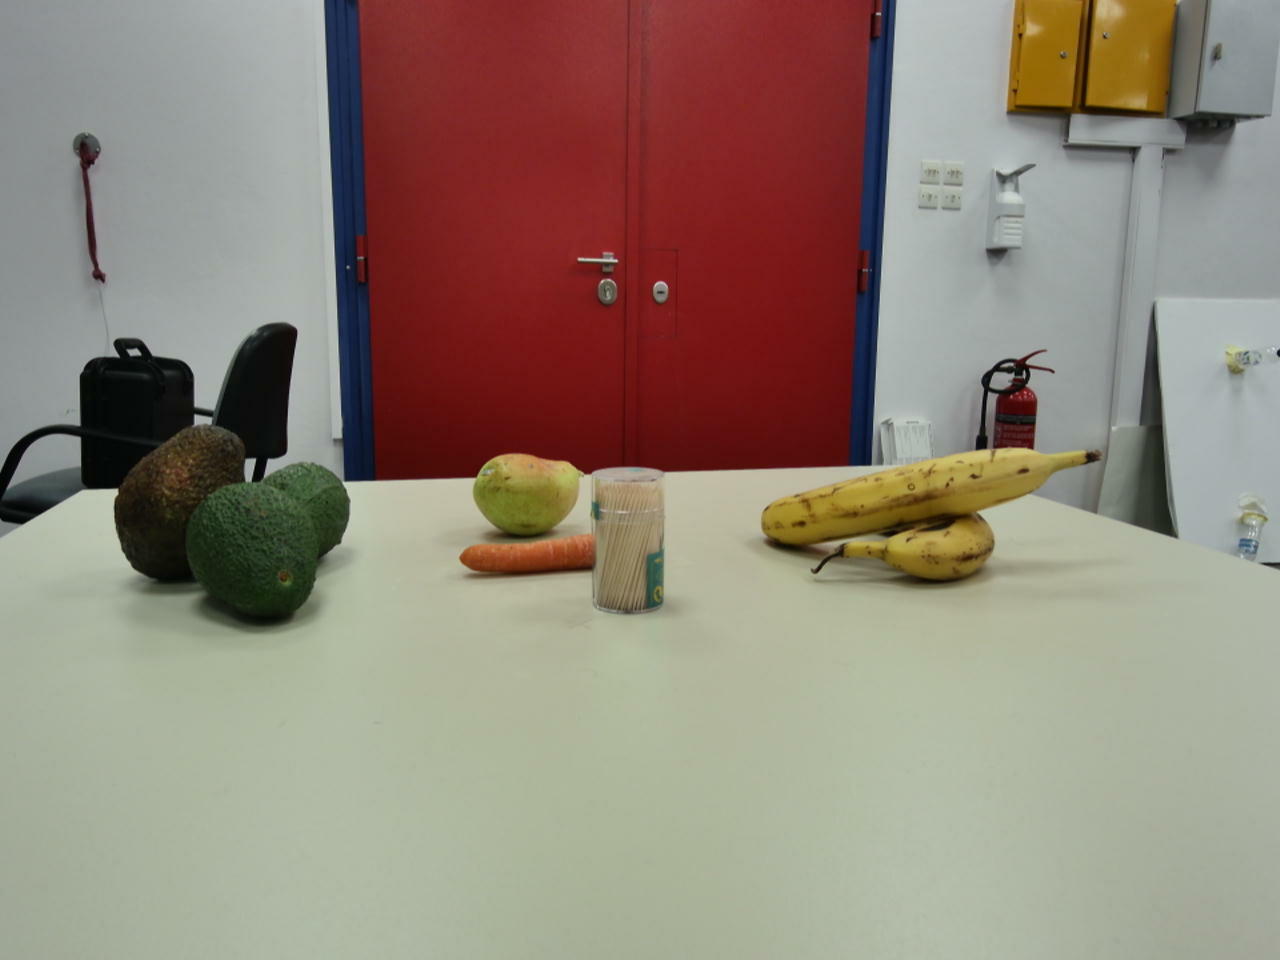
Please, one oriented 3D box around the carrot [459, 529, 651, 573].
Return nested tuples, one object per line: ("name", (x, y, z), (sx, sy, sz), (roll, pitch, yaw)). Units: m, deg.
("carrot", (-0.052, 0.045, 0.632), (0.122, 0.023, 0.024), (-2, 8, -15))
